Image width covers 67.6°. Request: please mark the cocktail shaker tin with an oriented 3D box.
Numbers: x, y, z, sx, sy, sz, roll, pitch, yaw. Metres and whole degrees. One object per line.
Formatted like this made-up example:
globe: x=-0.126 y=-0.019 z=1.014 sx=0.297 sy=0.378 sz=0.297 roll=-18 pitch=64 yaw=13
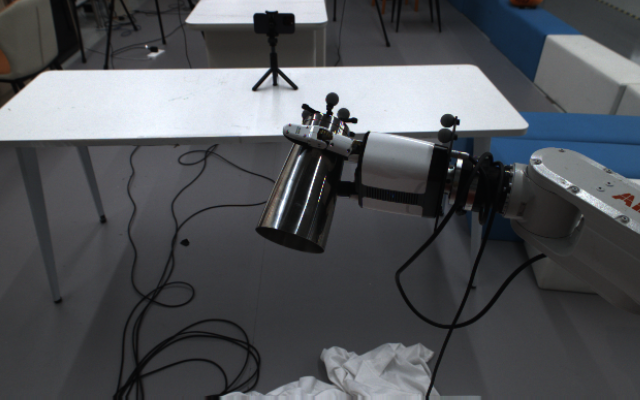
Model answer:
cocktail shaker tin: x=-0.012 y=-0.028 z=0.641 sx=0.093 sy=0.093 sz=0.170 roll=13 pitch=72 yaw=15
